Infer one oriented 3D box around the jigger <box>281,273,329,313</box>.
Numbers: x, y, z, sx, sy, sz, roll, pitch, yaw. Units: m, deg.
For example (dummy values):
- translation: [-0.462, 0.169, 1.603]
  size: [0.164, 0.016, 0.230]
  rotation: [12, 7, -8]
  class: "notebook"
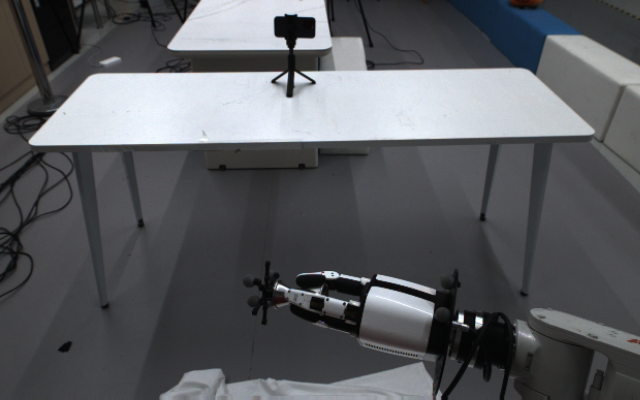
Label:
- translation: [-0.018, 0.127, 0.663]
  size: [0.071, 0.043, 0.043]
  rotation: [2, 34, 16]
  class: "jigger"
